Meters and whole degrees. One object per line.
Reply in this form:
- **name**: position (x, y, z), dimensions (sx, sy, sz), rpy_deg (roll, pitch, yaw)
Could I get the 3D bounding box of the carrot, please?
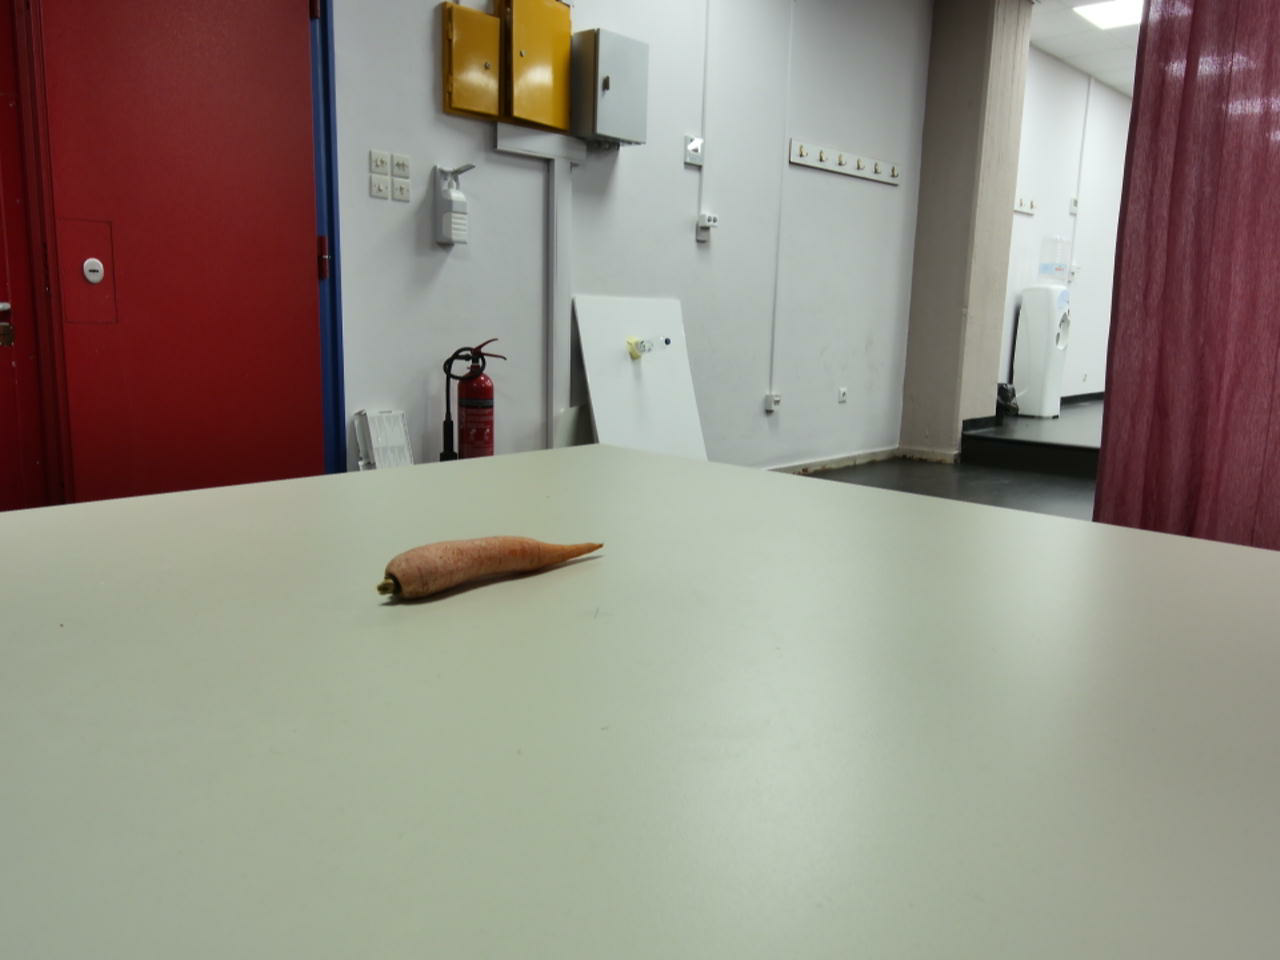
- **carrot**: position (-0.083, 0.046, 0.604), dimensions (0.031, 0.029, 0.163), rpy_deg (8, 11, 43)
